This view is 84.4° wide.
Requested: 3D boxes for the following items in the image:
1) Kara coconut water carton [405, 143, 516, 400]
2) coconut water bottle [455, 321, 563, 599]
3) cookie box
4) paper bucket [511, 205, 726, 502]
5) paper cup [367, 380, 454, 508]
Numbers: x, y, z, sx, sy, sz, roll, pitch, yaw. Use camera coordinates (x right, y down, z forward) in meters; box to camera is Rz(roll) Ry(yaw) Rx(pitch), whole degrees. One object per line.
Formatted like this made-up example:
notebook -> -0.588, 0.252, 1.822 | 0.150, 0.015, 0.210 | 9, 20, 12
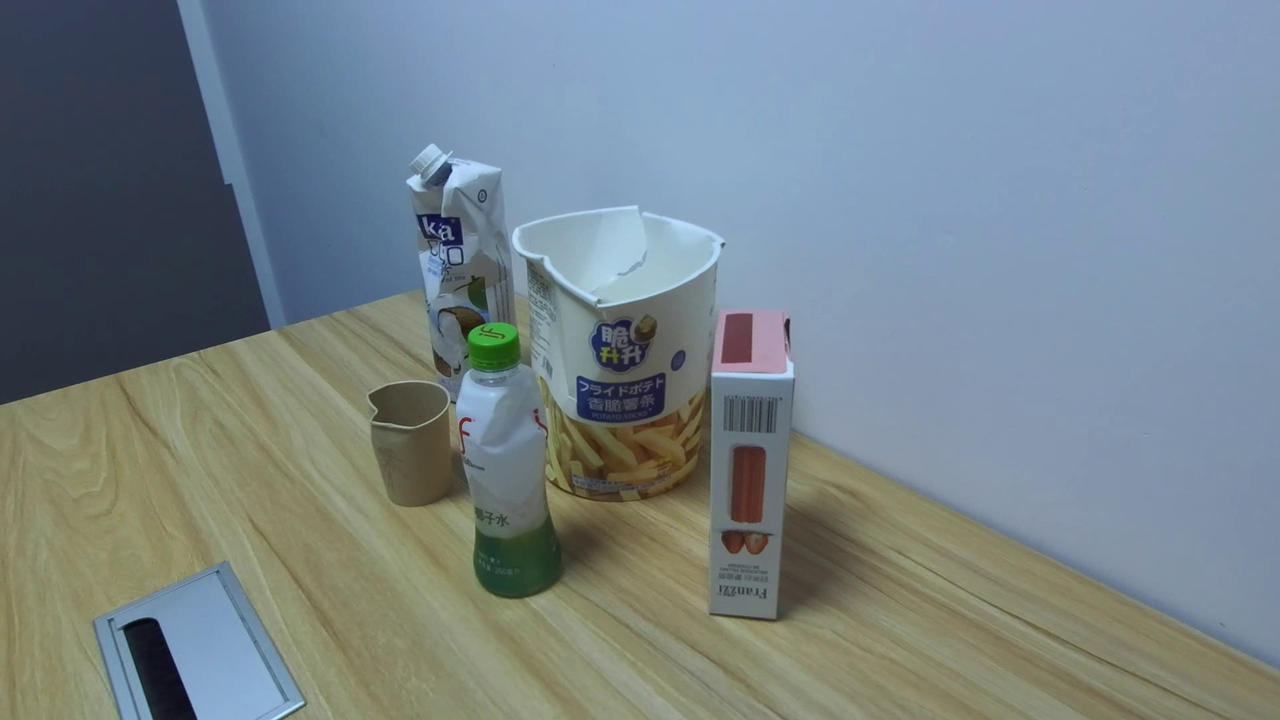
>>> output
Kara coconut water carton -> -0.167, -0.078, 0.674 | 0.083, 0.256, 0.079 | 25, 38, 39
coconut water bottle -> -0.088, 0.068, 0.468 | 0.069, 0.186, 0.069 | -1, 27, 1
cookie box -> 0.072, 0.066, 0.466 | 0.049, 0.187, 0.105 | 3, 27, 9
paper bucket -> -0.017, -0.007, 0.593 | 0.146, 0.197, 0.201 | -15, 31, -27
paper cup -> -0.184, 0.070, 0.578 | 0.073, 0.081, 0.069 | 5, 27, 9
